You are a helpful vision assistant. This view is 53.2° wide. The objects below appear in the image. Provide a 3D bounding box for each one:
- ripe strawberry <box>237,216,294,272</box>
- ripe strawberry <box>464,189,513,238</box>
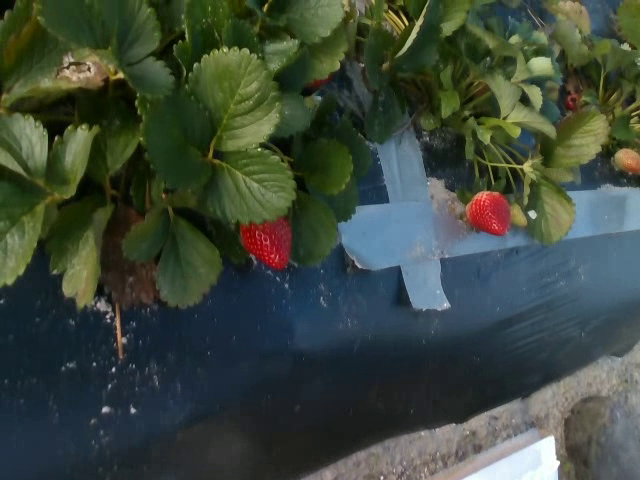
[{"bbox_3d":[-0.016,0.000,0.193,0.018,0.023,0.021,-15,-23,-20],"label":"ripe strawberry"},{"bbox_3d":[0.075,-0.010,0.269,0.023,0.026,0.021,2,-45,-13],"label":"ripe strawberry"}]
